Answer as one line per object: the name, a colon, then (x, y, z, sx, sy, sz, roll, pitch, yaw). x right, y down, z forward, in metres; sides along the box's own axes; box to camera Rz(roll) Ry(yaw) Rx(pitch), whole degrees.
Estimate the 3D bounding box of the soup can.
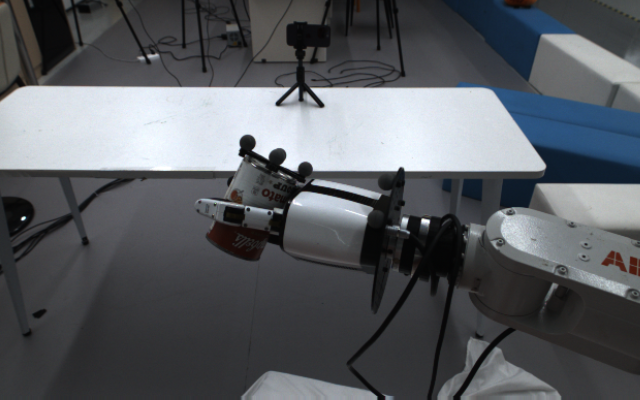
soup can: (-0.076, 0.010, 0.549, 0.067, 0.101, 0.067, 26, 6, -3)
